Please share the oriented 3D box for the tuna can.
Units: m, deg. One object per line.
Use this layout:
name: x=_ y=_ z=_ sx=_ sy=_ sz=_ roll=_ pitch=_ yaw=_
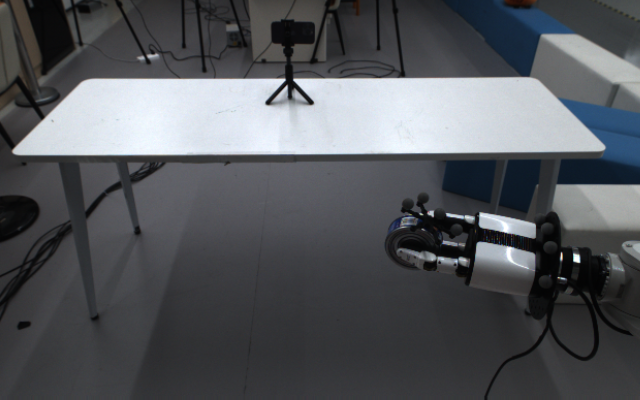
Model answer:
tuna can: x=0.147 y=0.073 z=0.740 sx=0.085 sy=0.085 sz=0.034 roll=12 pitch=35 yaw=14
